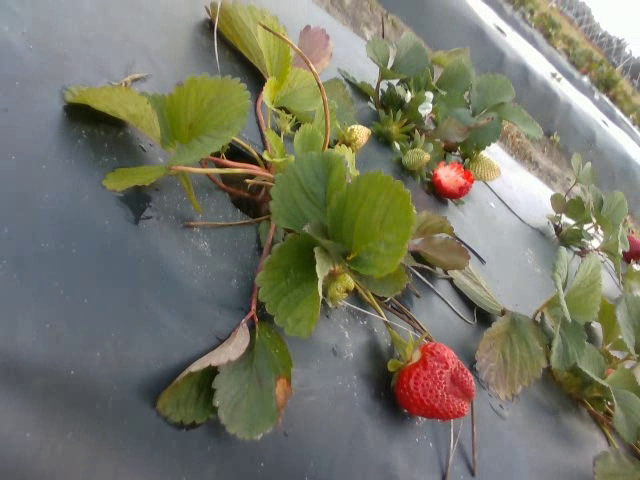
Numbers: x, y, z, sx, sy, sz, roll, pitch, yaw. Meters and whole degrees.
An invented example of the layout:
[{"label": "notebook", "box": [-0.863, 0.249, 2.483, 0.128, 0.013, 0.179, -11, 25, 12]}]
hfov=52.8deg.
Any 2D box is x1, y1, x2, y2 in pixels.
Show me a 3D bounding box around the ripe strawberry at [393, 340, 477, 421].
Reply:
[{"label": "ripe strawberry", "box": [0.019, 0.025, 0.104, 0.015, 0.014, 0.017, 31, 59, 28]}]
